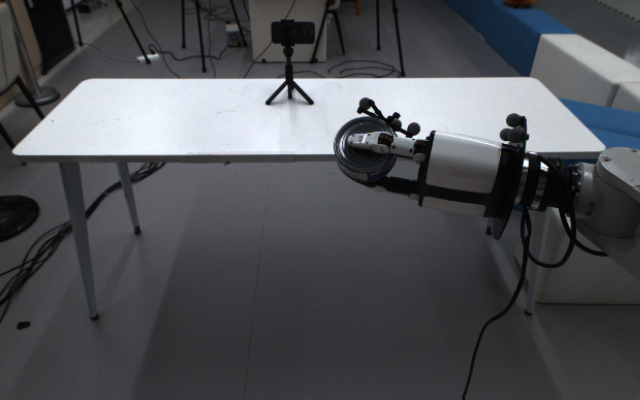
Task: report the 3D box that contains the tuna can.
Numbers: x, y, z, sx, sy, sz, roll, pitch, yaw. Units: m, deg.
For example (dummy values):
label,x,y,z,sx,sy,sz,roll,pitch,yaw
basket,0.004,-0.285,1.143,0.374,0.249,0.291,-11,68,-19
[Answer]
label,x,y,z,sx,sy,sz,roll,pitch,yaw
tuna can,0.066,-0.065,0.658,0.085,0.034,0.085,-4,69,10
